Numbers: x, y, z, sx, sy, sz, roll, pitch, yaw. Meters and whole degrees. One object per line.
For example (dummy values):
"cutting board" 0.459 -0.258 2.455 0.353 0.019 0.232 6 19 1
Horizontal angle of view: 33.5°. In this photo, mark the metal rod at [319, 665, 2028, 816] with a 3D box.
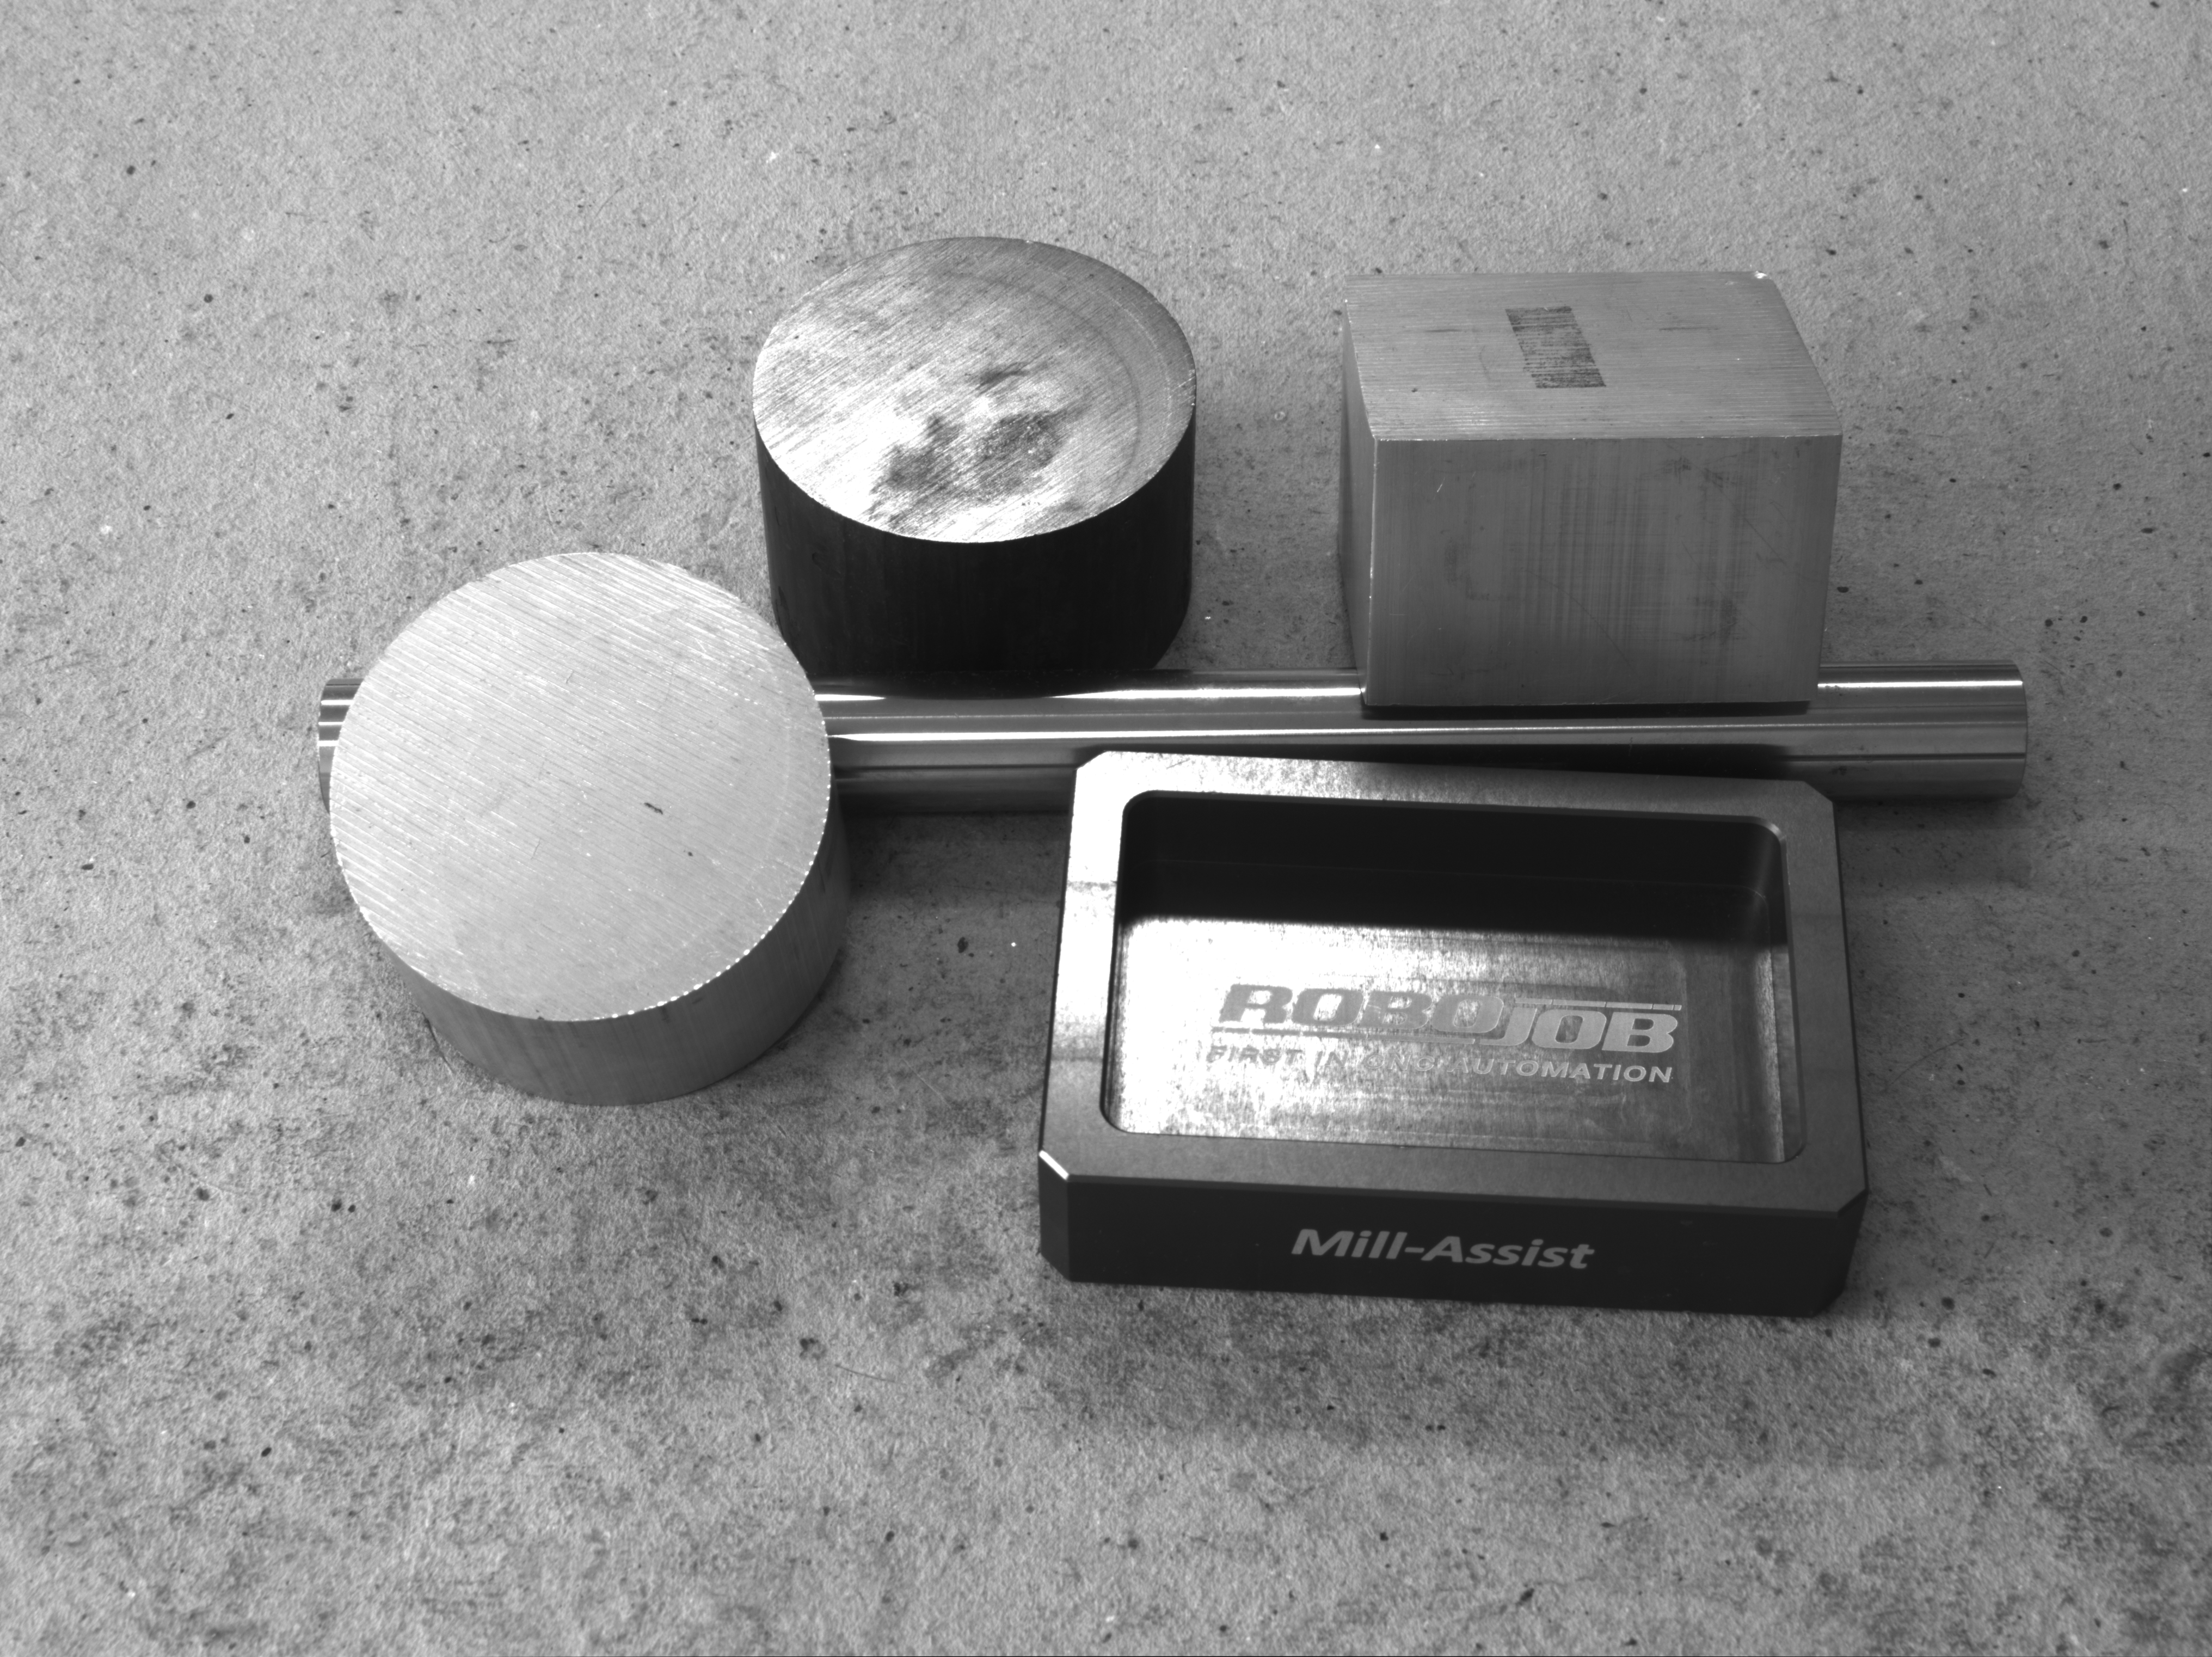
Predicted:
"metal rod" 0.012 -0.015 0.657 0.300 0.025 0.025 -1 50 0

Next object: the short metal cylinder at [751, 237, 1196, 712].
"short metal cylinder" -0.024 -0.064 0.681 0.080 0.050 0.080 0 49 0

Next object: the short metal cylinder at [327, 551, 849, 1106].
"short metal cylinder" -0.084 0.001 0.610 0.080 0.050 0.080 0 70 0

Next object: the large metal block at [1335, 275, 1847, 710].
"large metal block" 0.084 -0.062 0.663 0.080 0.050 0.080 0 29 0

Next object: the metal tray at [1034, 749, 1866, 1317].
"metal tray" 0.056 0.032 0.611 0.130 0.030 0.090 3 50 2
